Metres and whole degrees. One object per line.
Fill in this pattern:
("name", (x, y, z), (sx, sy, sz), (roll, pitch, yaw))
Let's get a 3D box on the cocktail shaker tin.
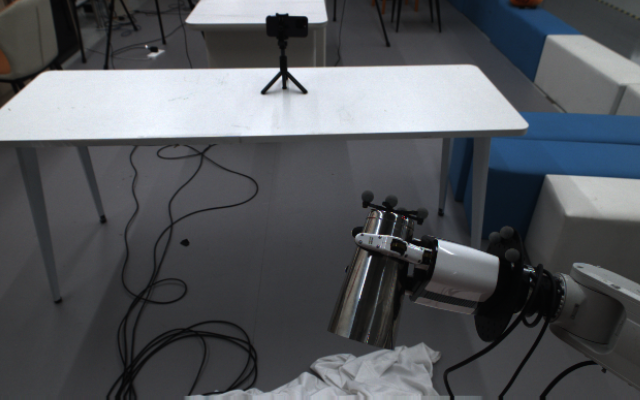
("cocktail shaker tin", (0.080, 0.102, 0.655), (0.093, 0.093, 0.170), (13, 79, 15))
